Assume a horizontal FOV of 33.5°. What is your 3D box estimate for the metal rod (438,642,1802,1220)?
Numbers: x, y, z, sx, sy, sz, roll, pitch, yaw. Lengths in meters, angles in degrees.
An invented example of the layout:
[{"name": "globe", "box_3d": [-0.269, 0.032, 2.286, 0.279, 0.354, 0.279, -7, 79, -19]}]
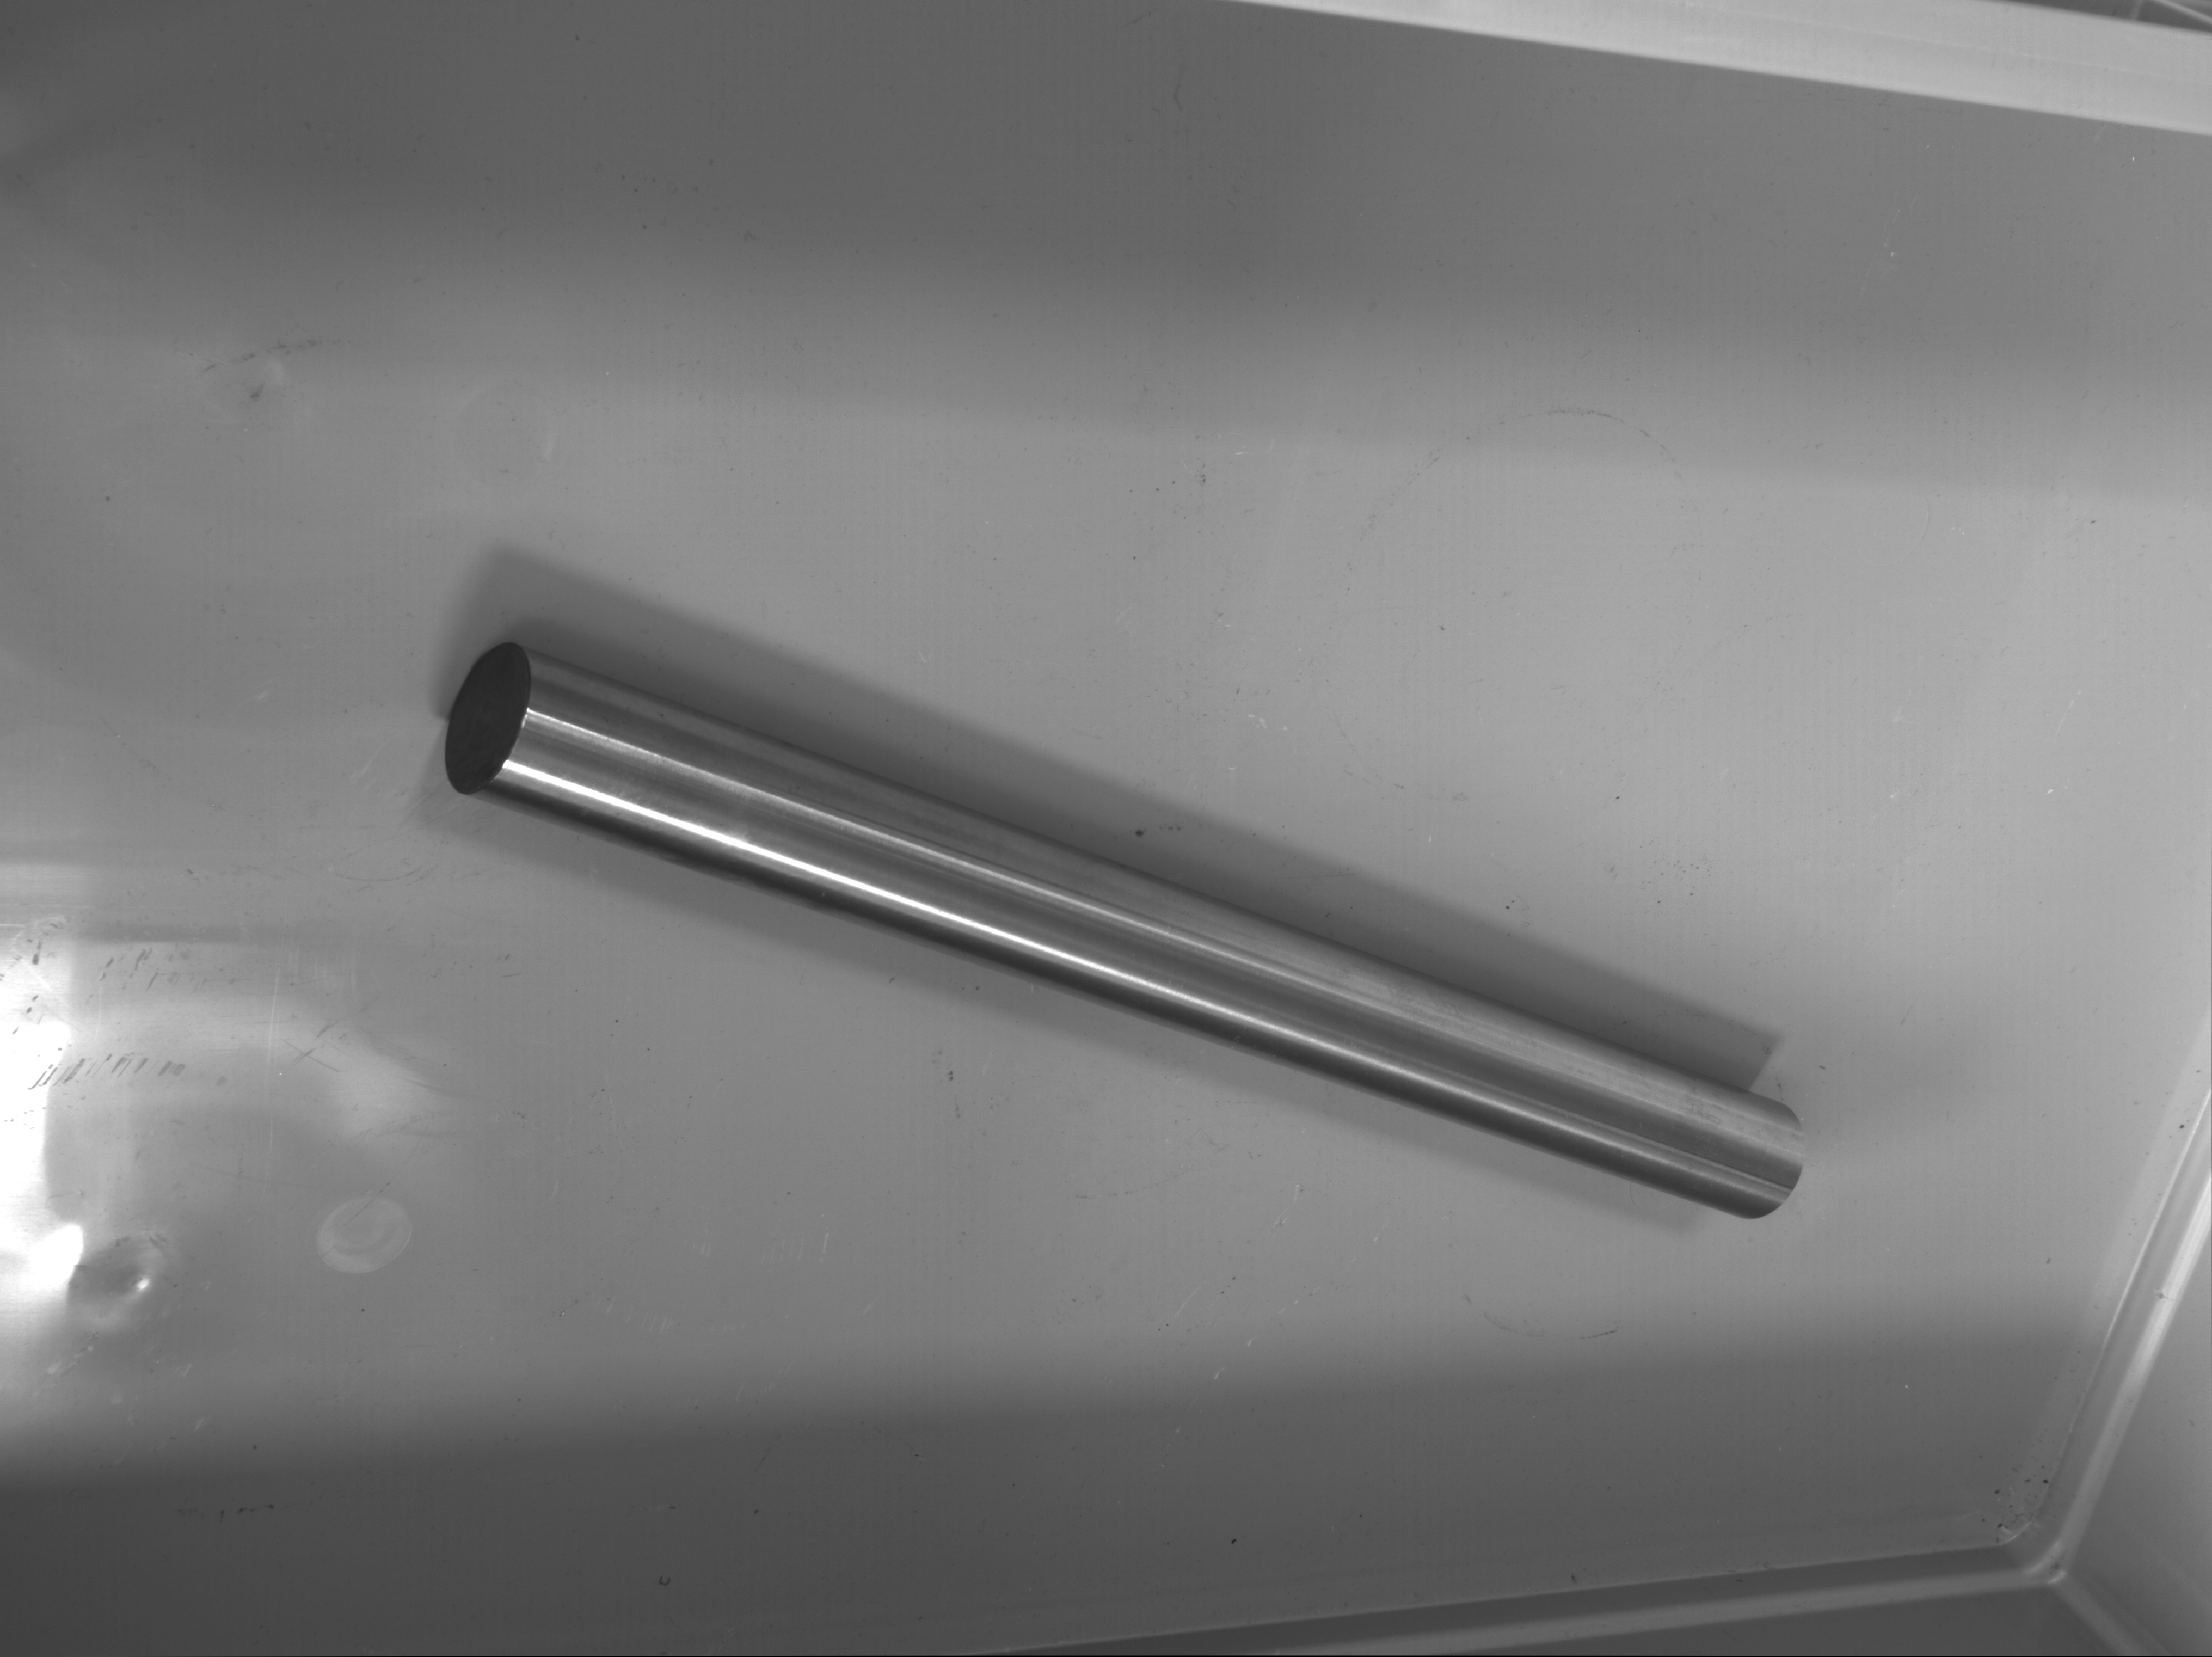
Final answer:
[{"name": "metal rod", "box_3d": [0.017, 0.025, 0.661, 0.301, 0.025, 0.025, 20, 107, -35]}]
